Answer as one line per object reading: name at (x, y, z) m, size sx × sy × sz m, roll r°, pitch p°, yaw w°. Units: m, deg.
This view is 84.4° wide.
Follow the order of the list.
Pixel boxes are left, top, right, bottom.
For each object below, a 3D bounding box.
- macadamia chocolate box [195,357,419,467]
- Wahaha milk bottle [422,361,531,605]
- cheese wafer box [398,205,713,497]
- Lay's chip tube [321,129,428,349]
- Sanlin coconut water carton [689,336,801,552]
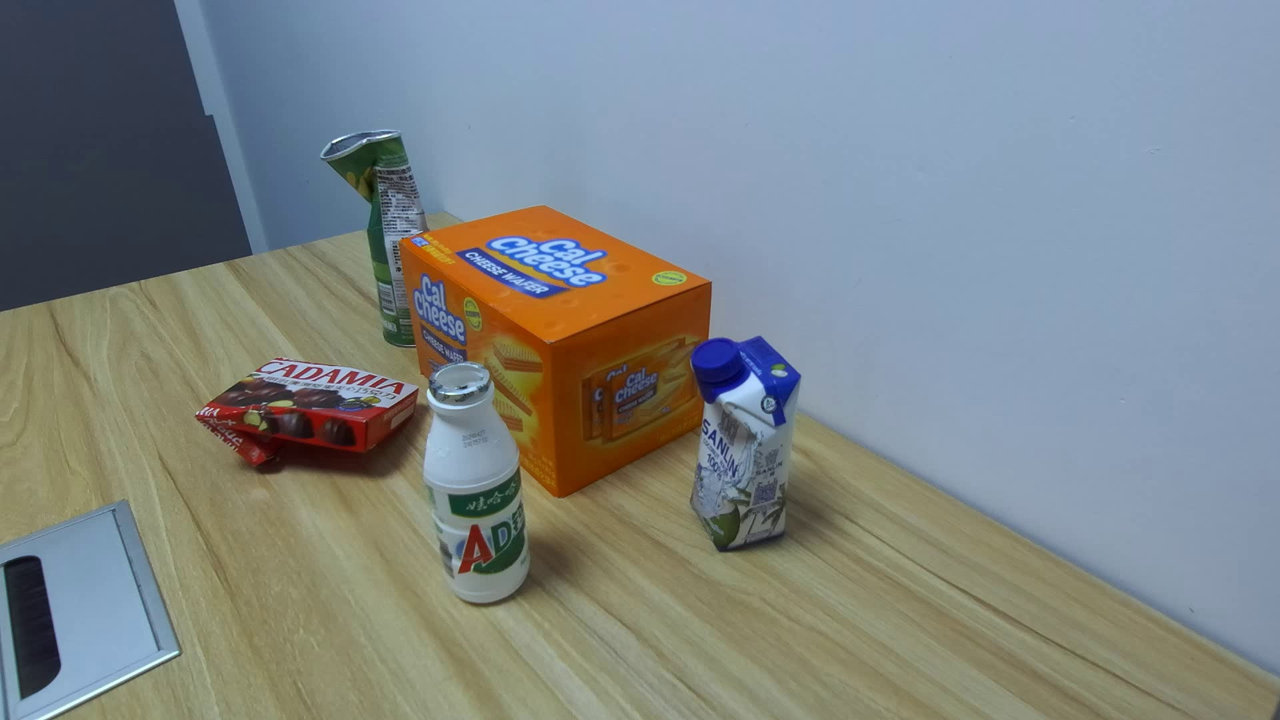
macadamia chocolate box at (-0.244, 0.034, 0.540) m, size 0.126 × 0.056 × 0.112 m, roll 2°, pitch 31°, yaw 2°
Wahaha milk bottle at (-0.094, 0.075, 0.401) m, size 0.053 × 0.137 × 0.053 m, roll 0°, pitch 33°, yaw 0°
cheese wafer box at (-0.071, -0.022, 0.572) m, size 0.149 × 0.129 × 0.220 m, roll -24°, pitch 39°, yaw -34°
Lay's chip tube at (-0.227, -0.109, 0.647) m, size 0.071 × 0.200 × 0.078 m, roll -18°, pitch 35°, yaw -17°
Sanlin coconut water carton at (0.063, 0.049, 0.443) m, size 0.058 × 0.142 × 0.077 m, roll -15°, pitch 34°, yaw -13°
